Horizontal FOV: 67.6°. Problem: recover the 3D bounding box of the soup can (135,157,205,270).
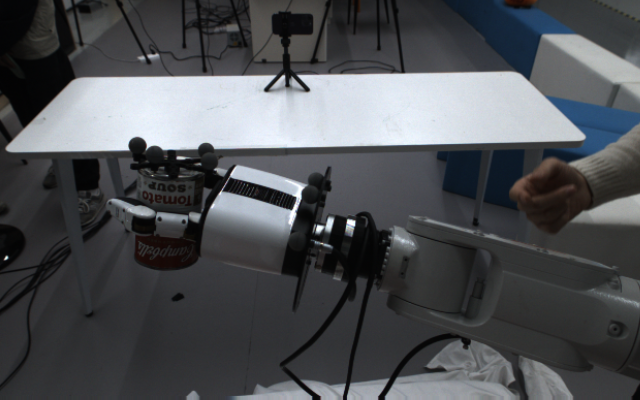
[{"bbox_3d":[-0.157,0.015,0.511,0.067,0.101,0.067,8,19,-3],"label":"soup can"}]
